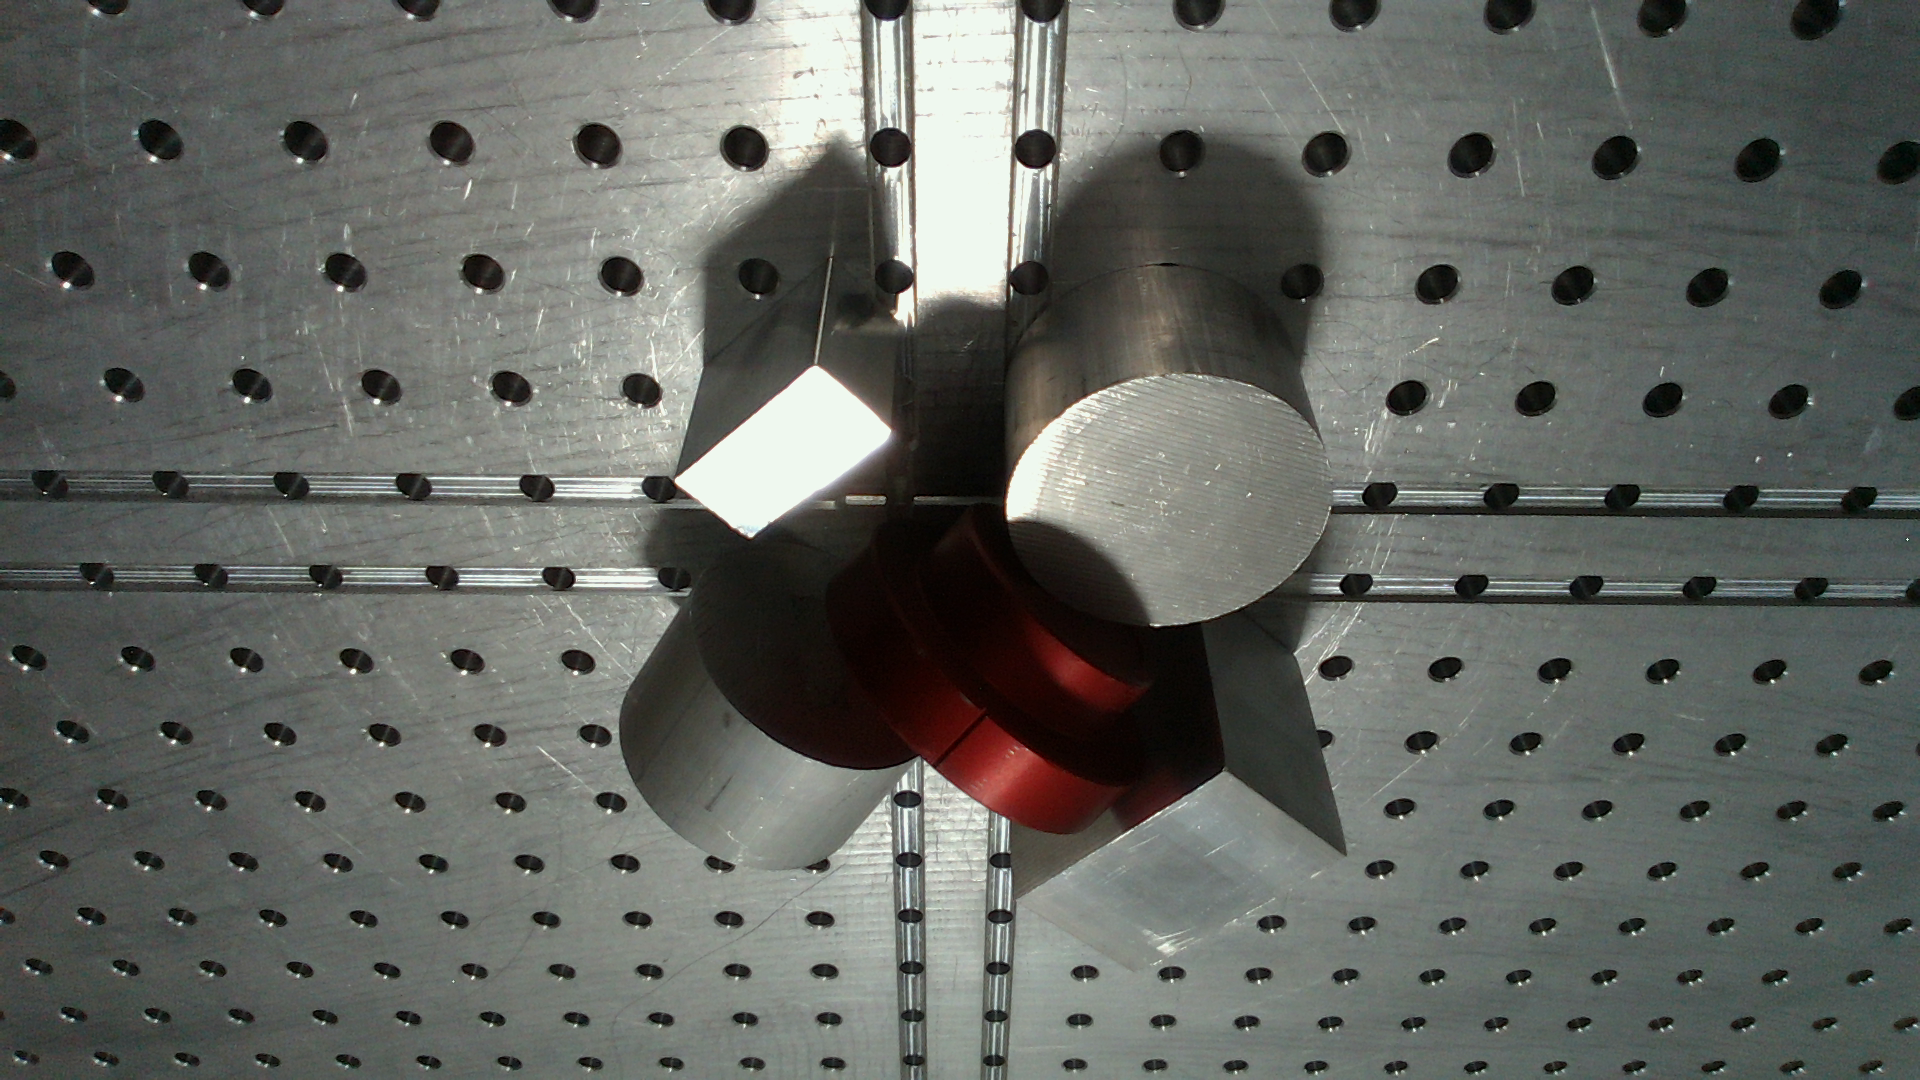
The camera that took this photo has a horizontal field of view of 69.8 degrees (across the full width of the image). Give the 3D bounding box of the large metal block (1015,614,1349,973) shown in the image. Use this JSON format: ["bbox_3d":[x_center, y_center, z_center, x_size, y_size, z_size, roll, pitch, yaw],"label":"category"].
[{"bbox_3d":[0.062,0.070,0.418,0.050,0.080,0.080,36,122,-26],"label":"large metal block"}]

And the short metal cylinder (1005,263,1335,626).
[{"bbox_3d":[0.052,-0.024,0.357,0.080,0.050,0.080,0,130,0],"label":"short metal cylinder"}]

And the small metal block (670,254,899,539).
[{"bbox_3d":[-0.043,-0.036,0.346,0.050,0.050,0.025,-35,122,26],"label":"small metal block"}]

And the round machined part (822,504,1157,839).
[{"bbox_3d":[0.014,0.028,0.370,0.098,0.098,0.042,34,110,-25],"label":"round machined part"}]

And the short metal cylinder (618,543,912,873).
[{"bbox_3d":[-0.051,0.047,0.397,0.080,0.080,0.050,25,126,-19],"label":"short metal cylinder"}]
